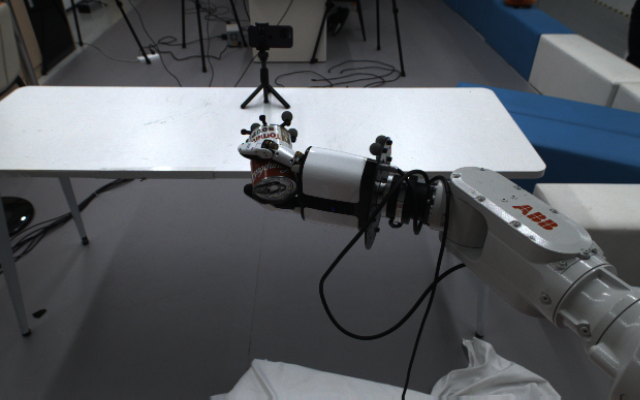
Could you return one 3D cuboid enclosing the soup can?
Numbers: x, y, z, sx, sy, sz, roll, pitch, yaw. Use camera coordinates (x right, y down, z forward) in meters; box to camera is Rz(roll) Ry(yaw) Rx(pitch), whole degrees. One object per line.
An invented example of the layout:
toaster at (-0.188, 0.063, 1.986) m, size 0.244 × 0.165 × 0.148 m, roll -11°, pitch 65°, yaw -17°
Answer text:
soup can at (-0.070, -0.053, 0.722) m, size 0.067 × 0.067 × 0.101 m, roll -5°, pitch 57°, yaw -10°
